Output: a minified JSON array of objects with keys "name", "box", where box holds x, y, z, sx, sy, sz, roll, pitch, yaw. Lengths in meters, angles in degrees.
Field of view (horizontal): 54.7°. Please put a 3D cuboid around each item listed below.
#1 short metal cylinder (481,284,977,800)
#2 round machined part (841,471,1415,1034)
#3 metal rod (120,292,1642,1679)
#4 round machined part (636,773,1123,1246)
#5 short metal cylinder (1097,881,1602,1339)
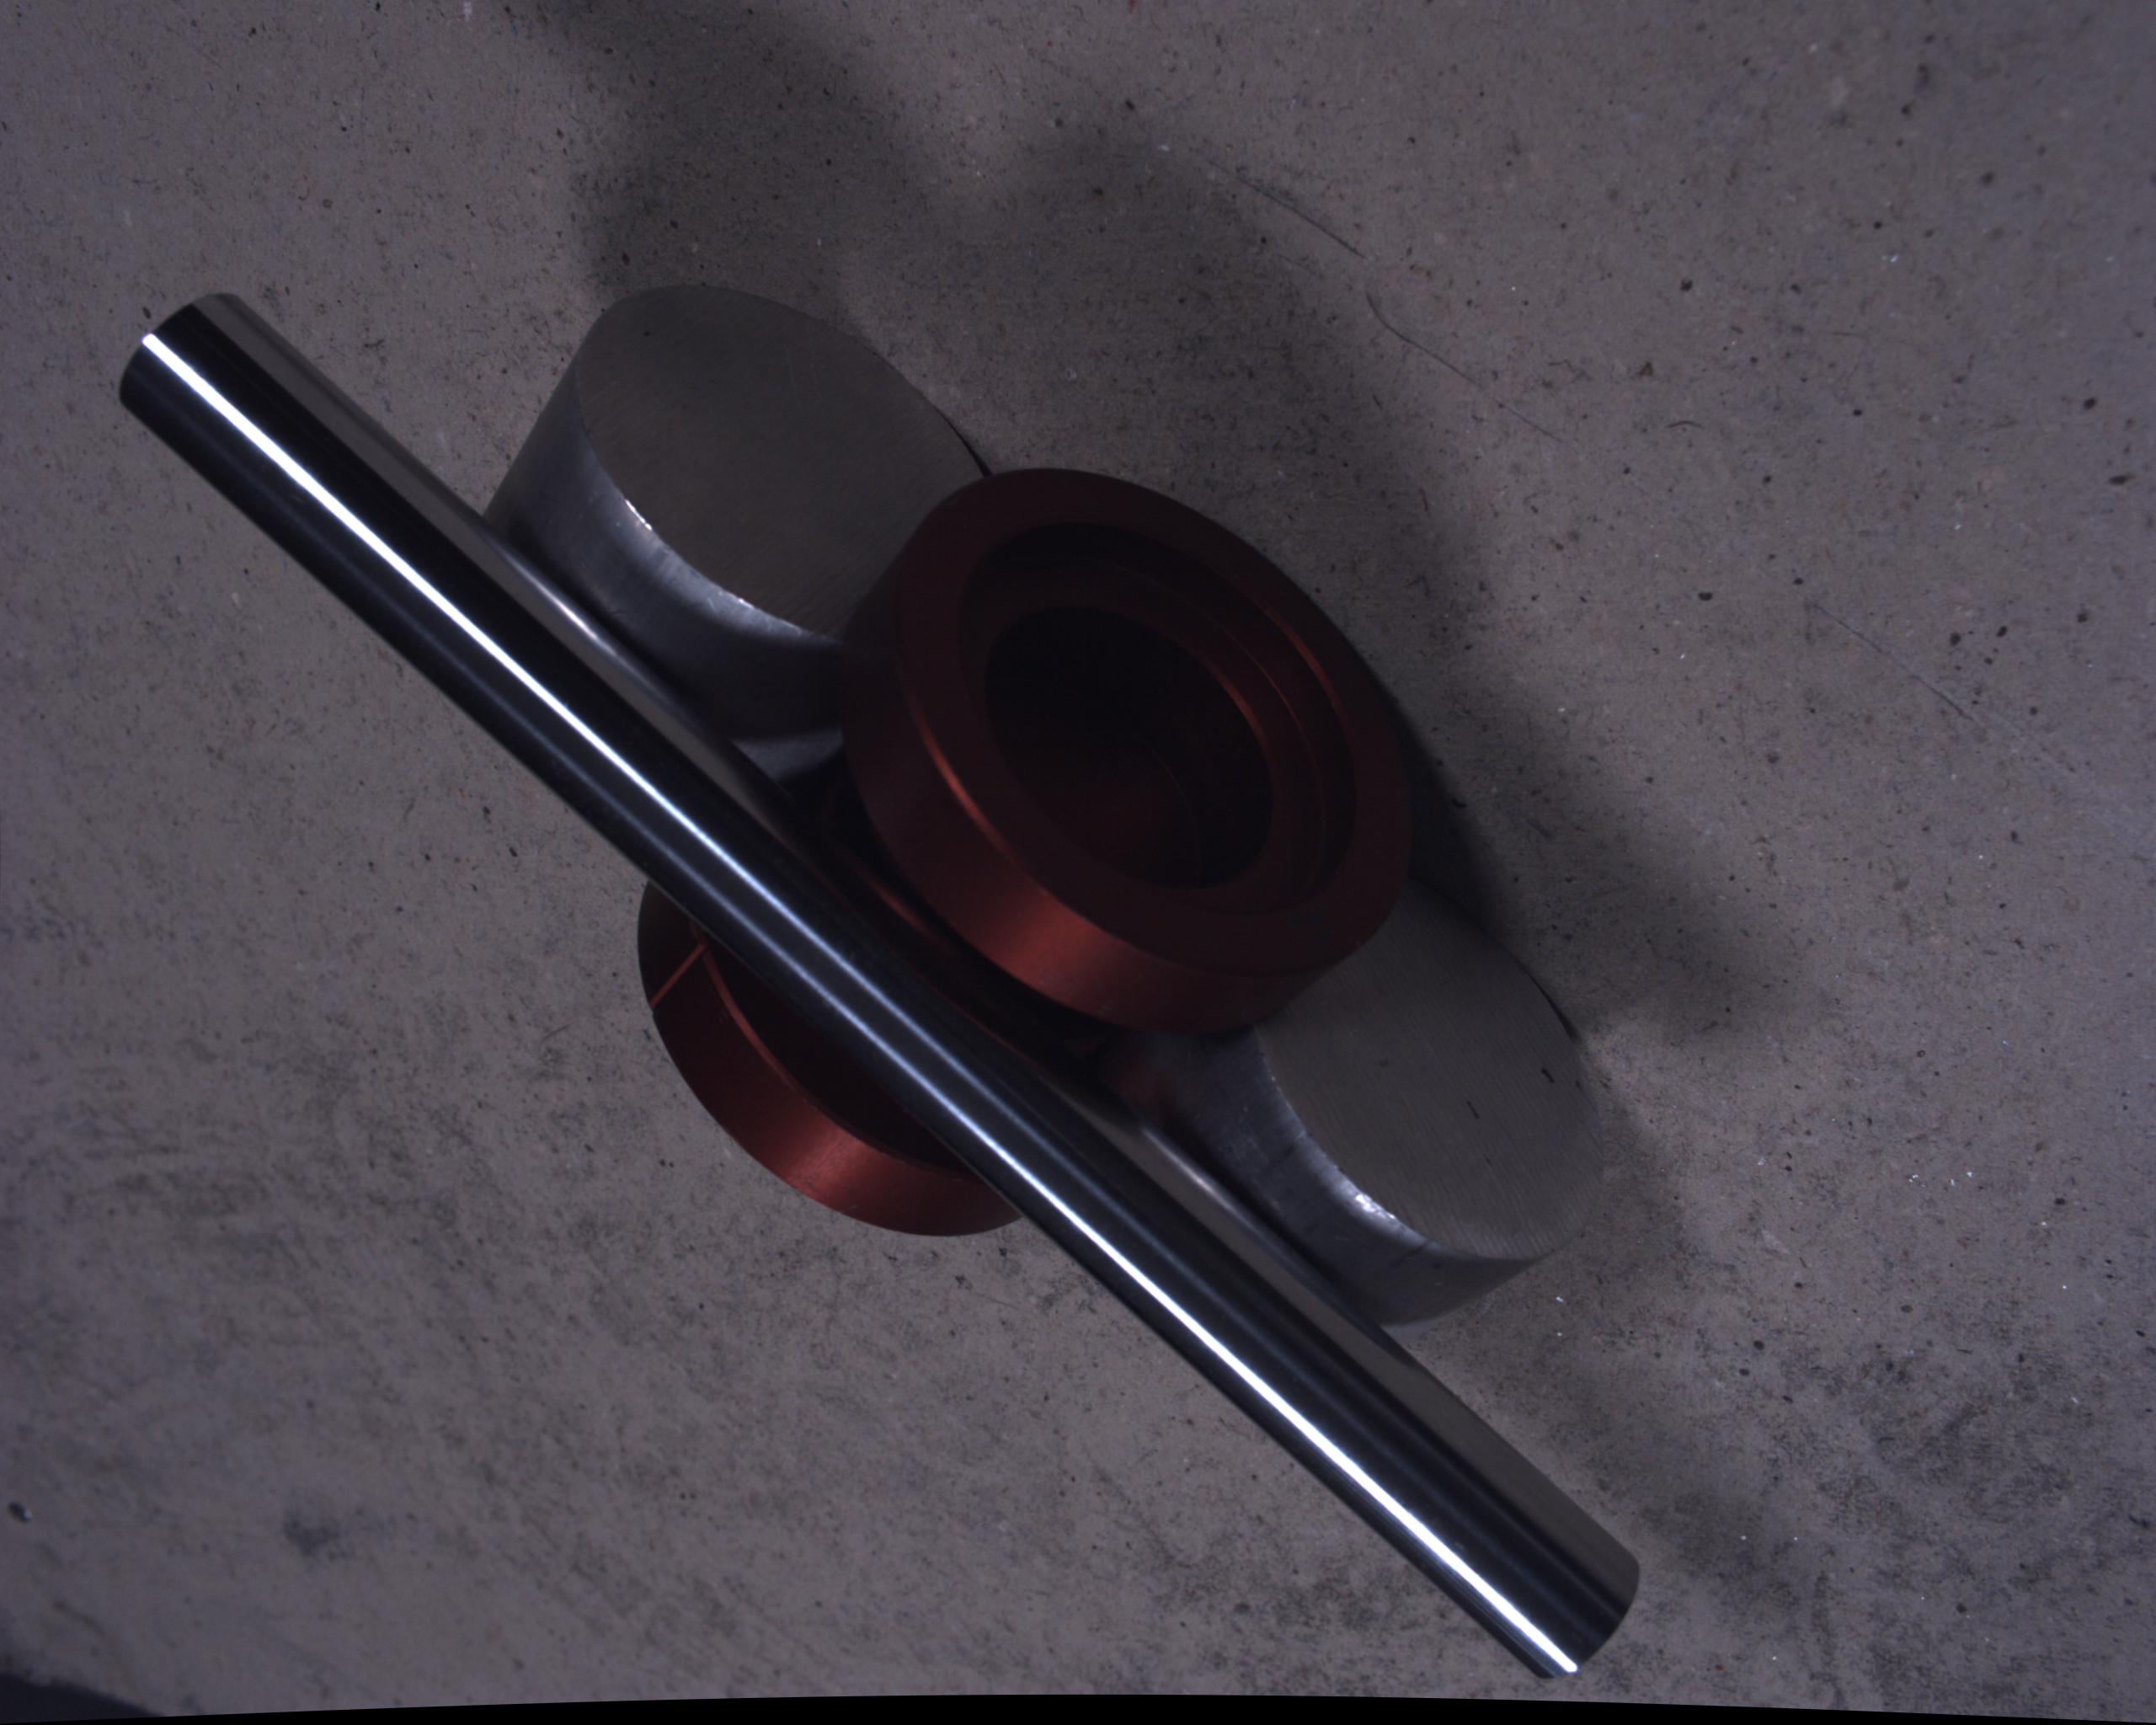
[{"name":"short metal cylinder","box":[-0.061,-0.055,0.369,0.080,0.080,0.050,43,129,-2]},{"name":"round machined part","box":[0.005,-0.014,0.349,0.098,0.098,0.042,43,133,-2]},{"name":"metal rod","box":[-0.029,0.021,0.332,0.300,0.025,0.025,42,129,-2]},{"name":"round machined part","box":[-0.027,0.017,0.383,0.098,0.098,0.042,43,125,-2]},{"name":"short metal cylinder","box":[0.046,0.046,0.375,0.080,0.080,0.050,43,129,-2]}]
